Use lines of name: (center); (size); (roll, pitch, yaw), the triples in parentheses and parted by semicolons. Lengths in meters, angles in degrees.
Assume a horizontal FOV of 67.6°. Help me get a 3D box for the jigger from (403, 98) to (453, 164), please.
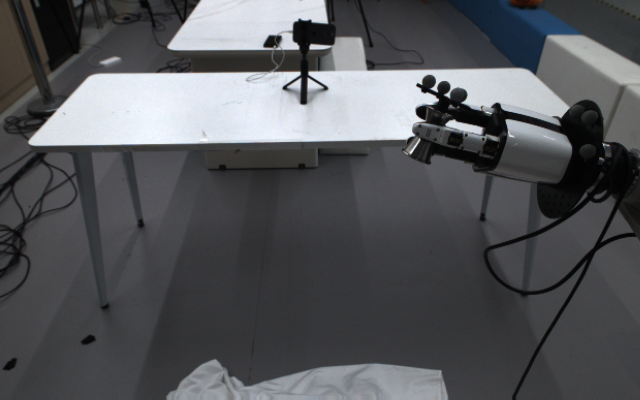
jigger: (0.141, -0.088, 0.641); (0.043, 0.071, 0.043); (23, 19, -8)
